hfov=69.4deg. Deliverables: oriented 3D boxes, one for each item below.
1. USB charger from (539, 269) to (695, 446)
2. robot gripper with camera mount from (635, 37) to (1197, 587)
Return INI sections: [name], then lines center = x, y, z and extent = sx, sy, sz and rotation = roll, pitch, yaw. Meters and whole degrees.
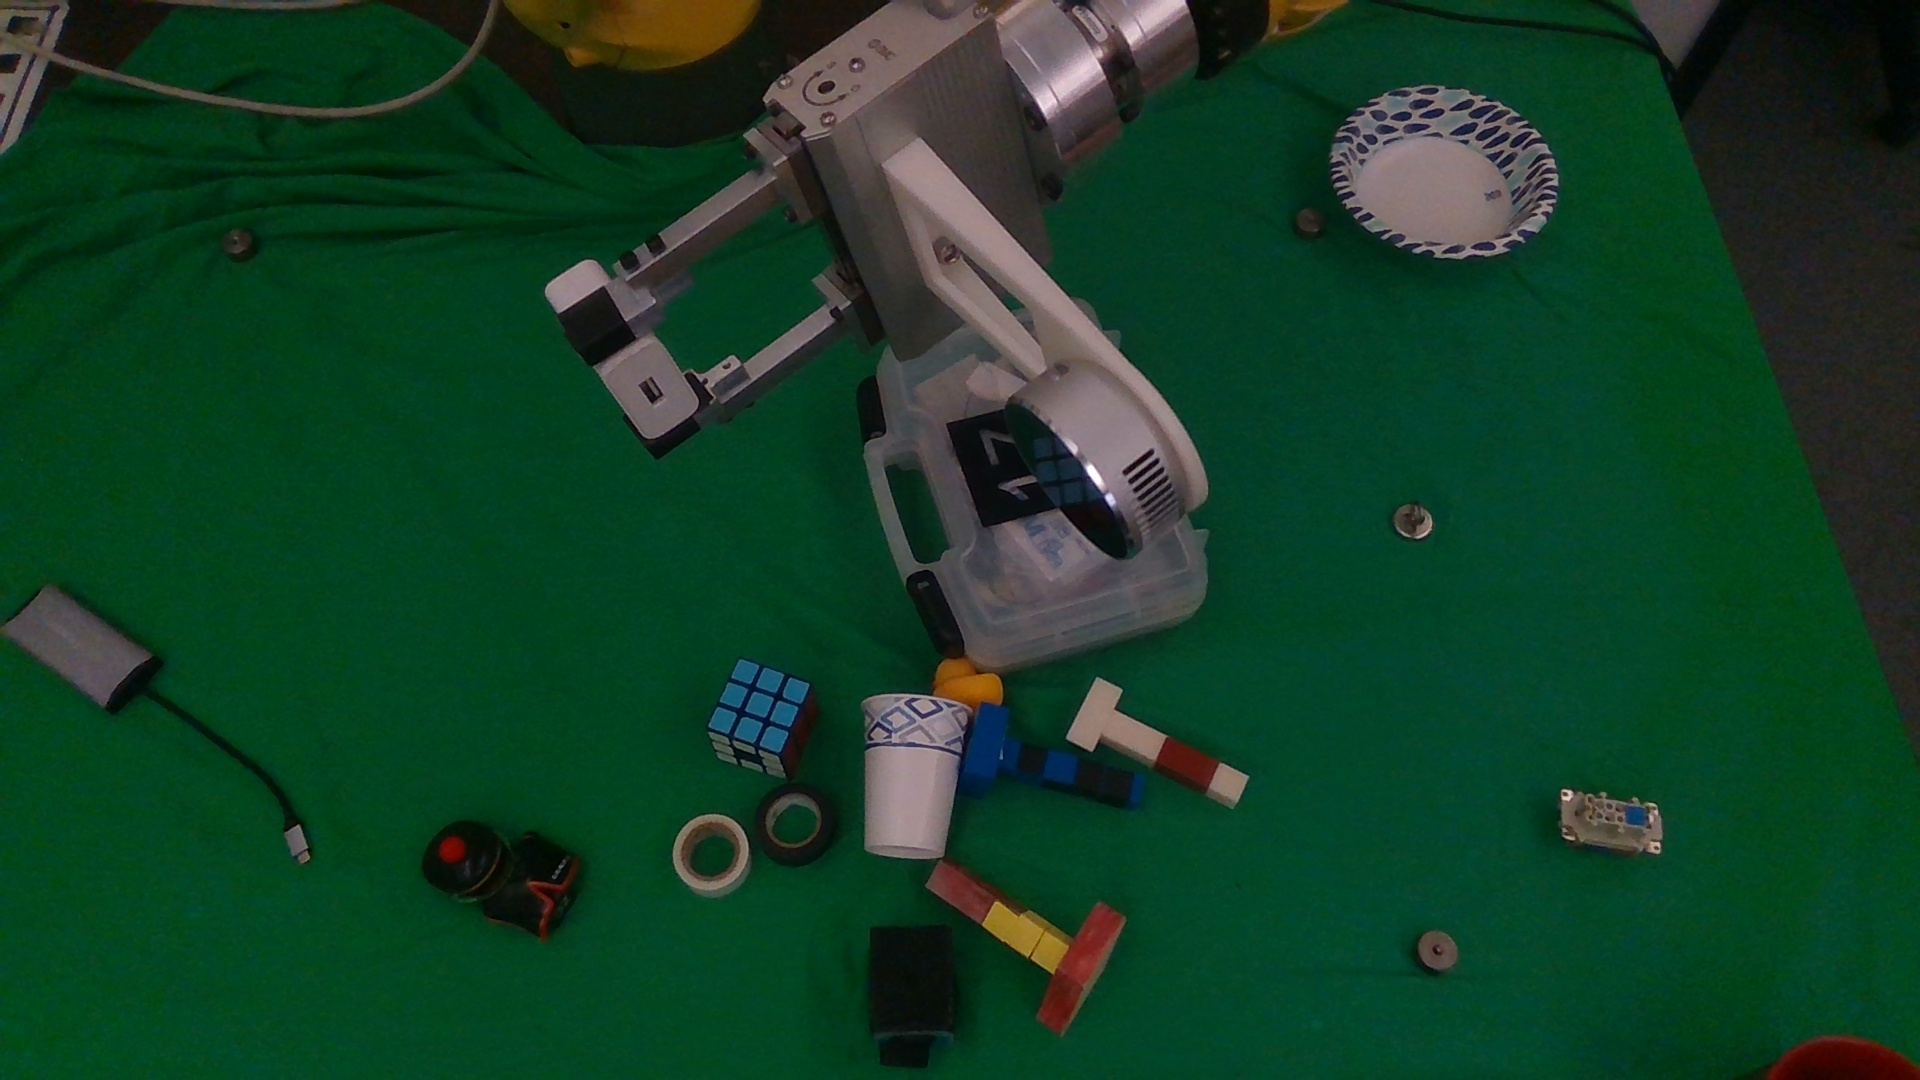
[USB charger]
center = -0.129, -0.072, 0.510
extent = 0.029, 0.044, 0.076
rotation = -37, 61, -8
[robot gripper with camera mount]
center = -0.012, -0.041, 0.480
extent = 0.158, 0.119, 0.194
rotation = -37, 60, -9
